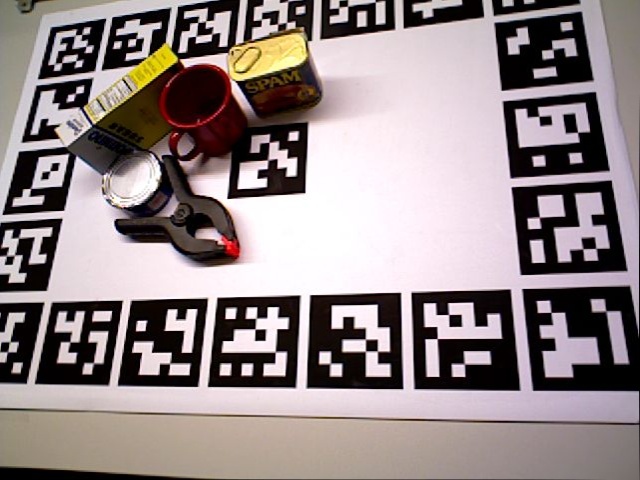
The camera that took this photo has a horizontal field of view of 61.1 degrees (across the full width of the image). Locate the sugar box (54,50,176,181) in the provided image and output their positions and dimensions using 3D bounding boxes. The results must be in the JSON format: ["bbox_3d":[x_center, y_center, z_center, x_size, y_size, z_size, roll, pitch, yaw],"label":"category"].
[{"bbox_3d":[-0.243,-0.152,0.695,0.176,0.093,0.045,-38,65,-3],"label":"sugar box"}]

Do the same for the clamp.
[{"bbox_3d":[-0.168,-0.012,0.658,0.165,0.037,0.121,33,77,18],"label":"clamp"}]

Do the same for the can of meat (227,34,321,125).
[{"bbox_3d":[-0.053,-0.193,0.667,0.102,0.084,0.057,-10,66,8],"label":"can of meat"}]

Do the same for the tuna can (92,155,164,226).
[{"bbox_3d":[-0.243,-0.062,0.689,0.086,0.034,0.085,-5,72,13],"label":"tuna can"}]

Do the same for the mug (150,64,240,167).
[{"bbox_3d":[-0.154,-0.143,0.667,0.093,0.082,0.116,22,79,19],"label":"mug"}]
